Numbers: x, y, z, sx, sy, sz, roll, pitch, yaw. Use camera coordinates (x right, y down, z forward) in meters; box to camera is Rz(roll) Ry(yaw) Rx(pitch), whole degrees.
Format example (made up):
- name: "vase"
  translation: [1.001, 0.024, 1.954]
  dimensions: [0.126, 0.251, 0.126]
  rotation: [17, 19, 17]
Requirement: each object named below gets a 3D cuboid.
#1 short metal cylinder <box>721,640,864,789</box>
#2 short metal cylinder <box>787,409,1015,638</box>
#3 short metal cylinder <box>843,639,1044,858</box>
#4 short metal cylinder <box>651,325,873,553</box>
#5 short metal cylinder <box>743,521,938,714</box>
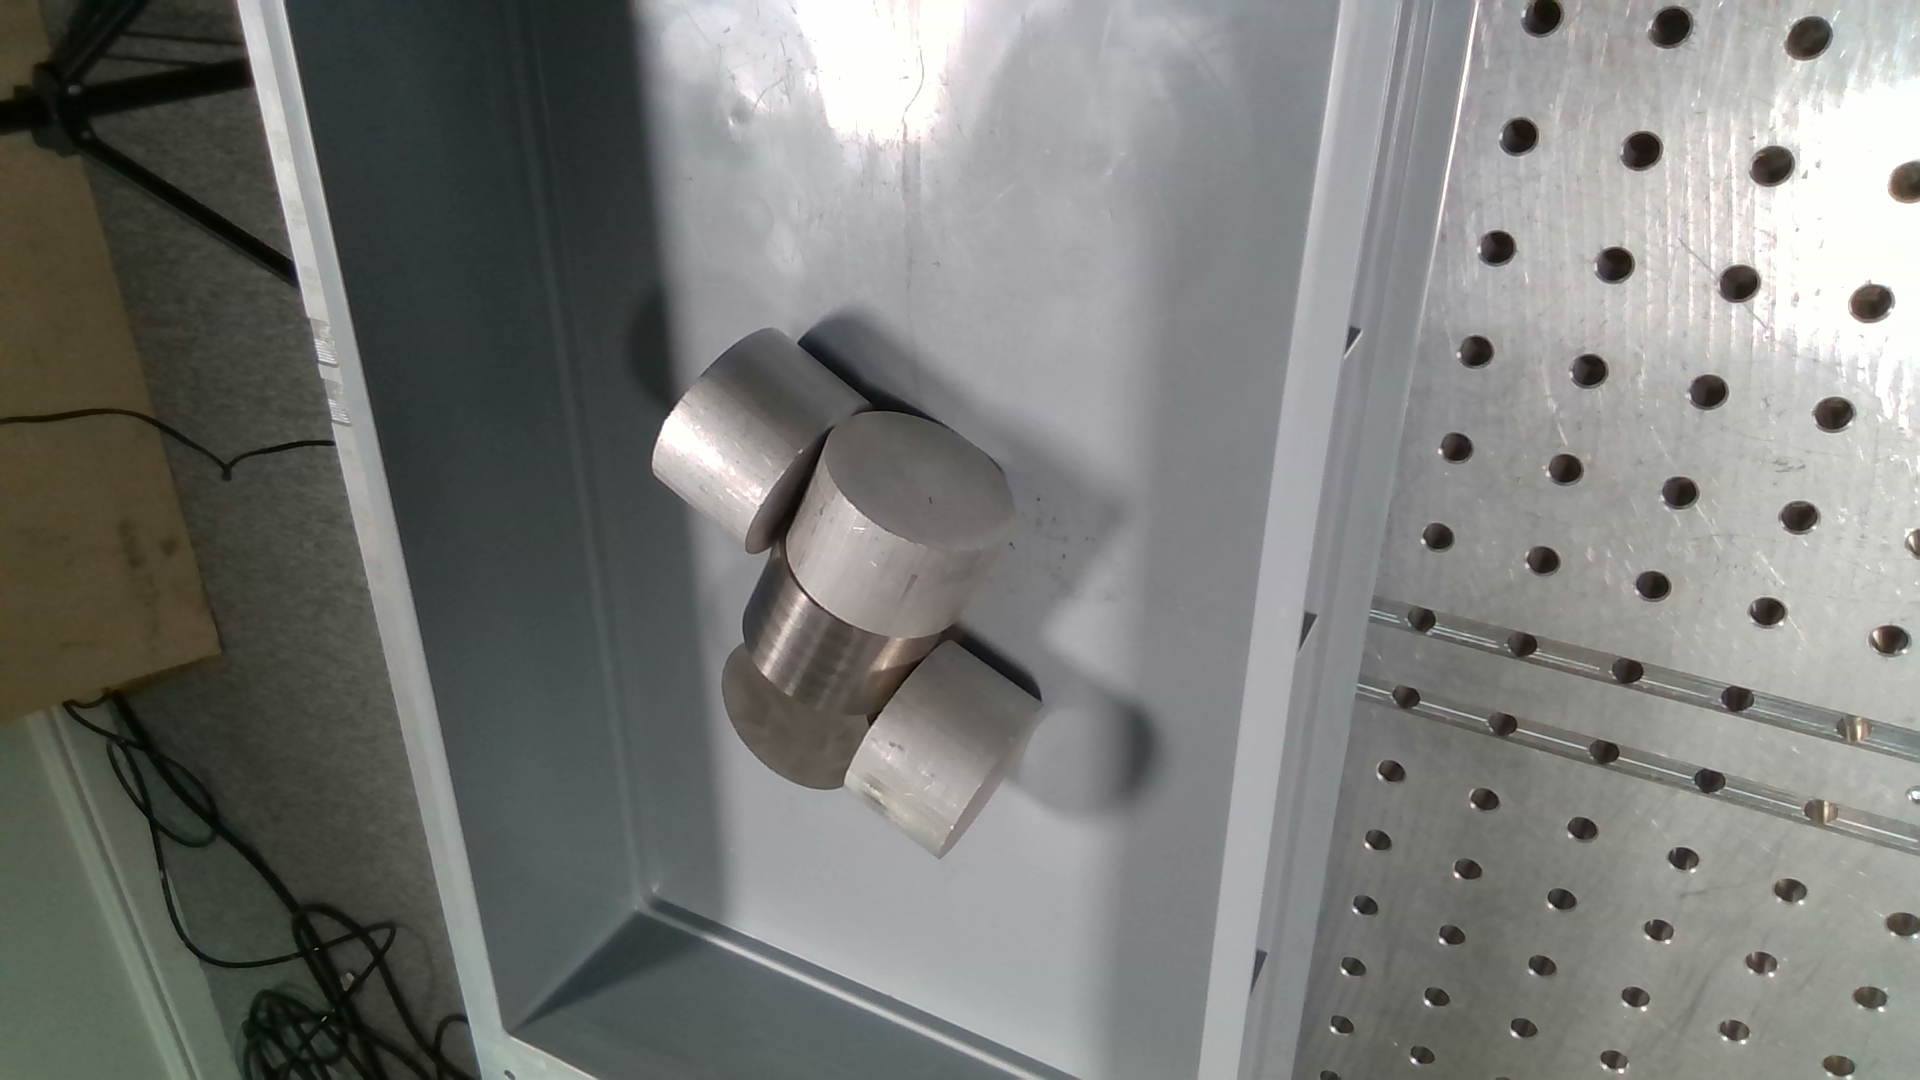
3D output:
- name: "short metal cylinder"
  translation: [-0.063, 0.067, 0.637]
  dimensions: [0.080, 0.050, 0.080]
  rotation: [14, 122, 25]
- name: "short metal cylinder"
  translation: [-0.025, -0.007, 0.554]
  dimensions: [0.080, 0.080, 0.050]
  rotation: [36, 128, 10]
- name: "short metal cylinder"
  translation: [-0.007, 0.090, 0.596]
  dimensions: [0.050, 0.080, 0.080]
  rotation: [34, 128, 11]
- name: "short metal cylinder"
  translation: [-0.081, -0.041, 0.570]
  dimensions: [0.050, 0.080, 0.080]
  rotation: [39, 129, 8]
- name: "short metal cylinder"
  translation: [-0.047, 0.027, 0.587]
  dimensions: [0.080, 0.080, 0.050]
  rotation: [37, 128, 9]
